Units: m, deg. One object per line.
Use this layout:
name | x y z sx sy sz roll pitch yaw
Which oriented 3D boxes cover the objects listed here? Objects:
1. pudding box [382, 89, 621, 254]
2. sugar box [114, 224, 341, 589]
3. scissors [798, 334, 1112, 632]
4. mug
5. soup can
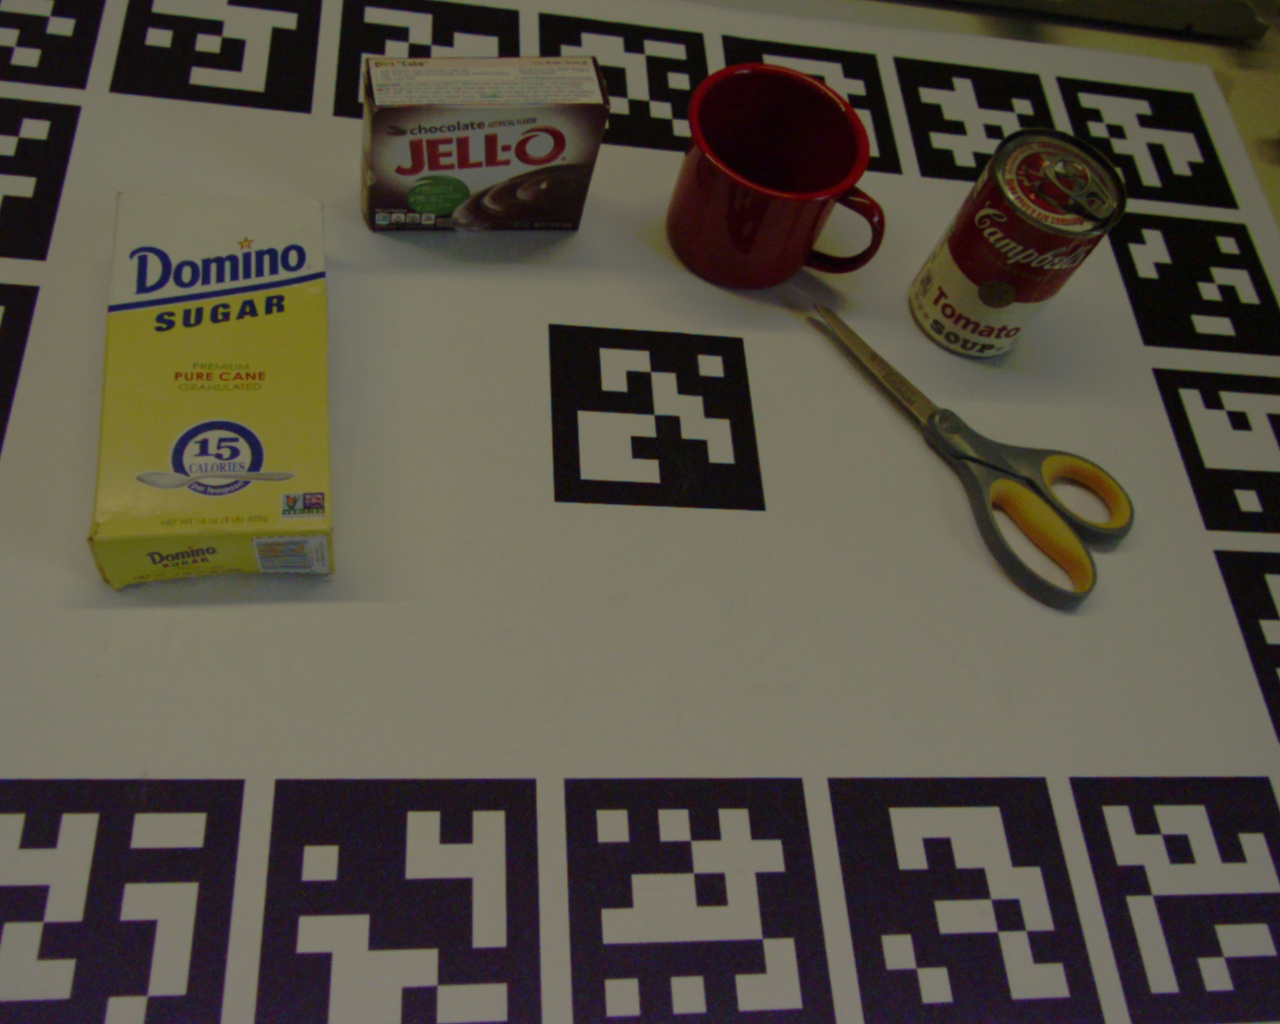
pudding box | -0.074 -0.177 0.591 0.113 0.090 0.039 -7 73 -16
sugar box | -0.190 -0.053 0.538 0.092 0.045 0.177 -2 66 -11
scissors | 0.162 -0.030 0.613 0.087 0.016 0.204 -42 79 -17
mug | 0.069 -0.169 0.627 0.092 0.081 0.118 -34 74 -22
soup can | 0.185 -0.130 0.629 0.067 0.102 0.068 5 62 -10
